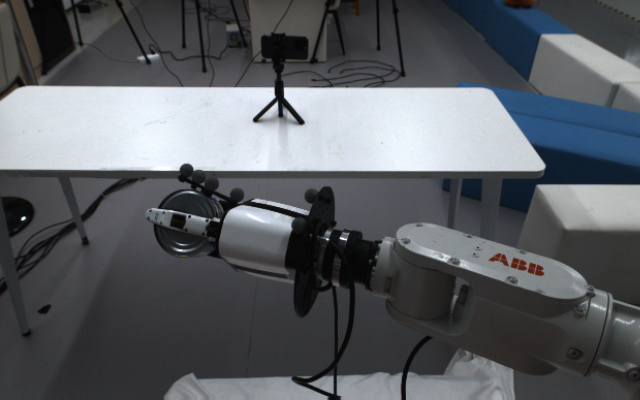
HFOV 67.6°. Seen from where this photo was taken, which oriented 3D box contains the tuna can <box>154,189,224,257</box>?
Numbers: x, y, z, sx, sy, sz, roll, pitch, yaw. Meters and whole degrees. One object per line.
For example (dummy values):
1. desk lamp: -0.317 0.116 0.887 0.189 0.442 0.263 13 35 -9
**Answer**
1. tuna can: -0.161 0.030 0.612 0.085 0.085 0.034 13 -6 16
